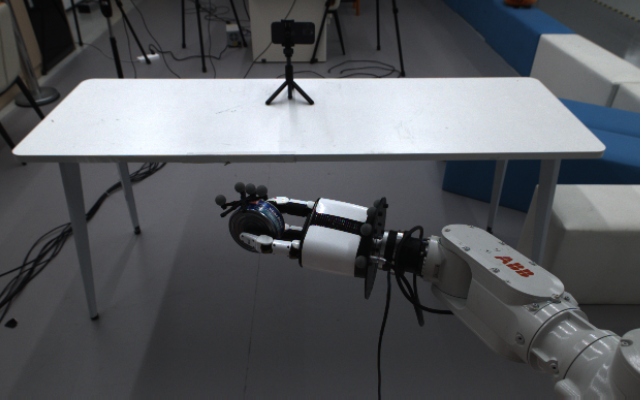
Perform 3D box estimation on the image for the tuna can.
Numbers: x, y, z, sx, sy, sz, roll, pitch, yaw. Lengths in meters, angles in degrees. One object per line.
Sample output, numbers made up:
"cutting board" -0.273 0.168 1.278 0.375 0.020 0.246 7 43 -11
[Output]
"tuna can" -0.099 0.048 0.773 0.085 0.085 0.034 11 34 13
